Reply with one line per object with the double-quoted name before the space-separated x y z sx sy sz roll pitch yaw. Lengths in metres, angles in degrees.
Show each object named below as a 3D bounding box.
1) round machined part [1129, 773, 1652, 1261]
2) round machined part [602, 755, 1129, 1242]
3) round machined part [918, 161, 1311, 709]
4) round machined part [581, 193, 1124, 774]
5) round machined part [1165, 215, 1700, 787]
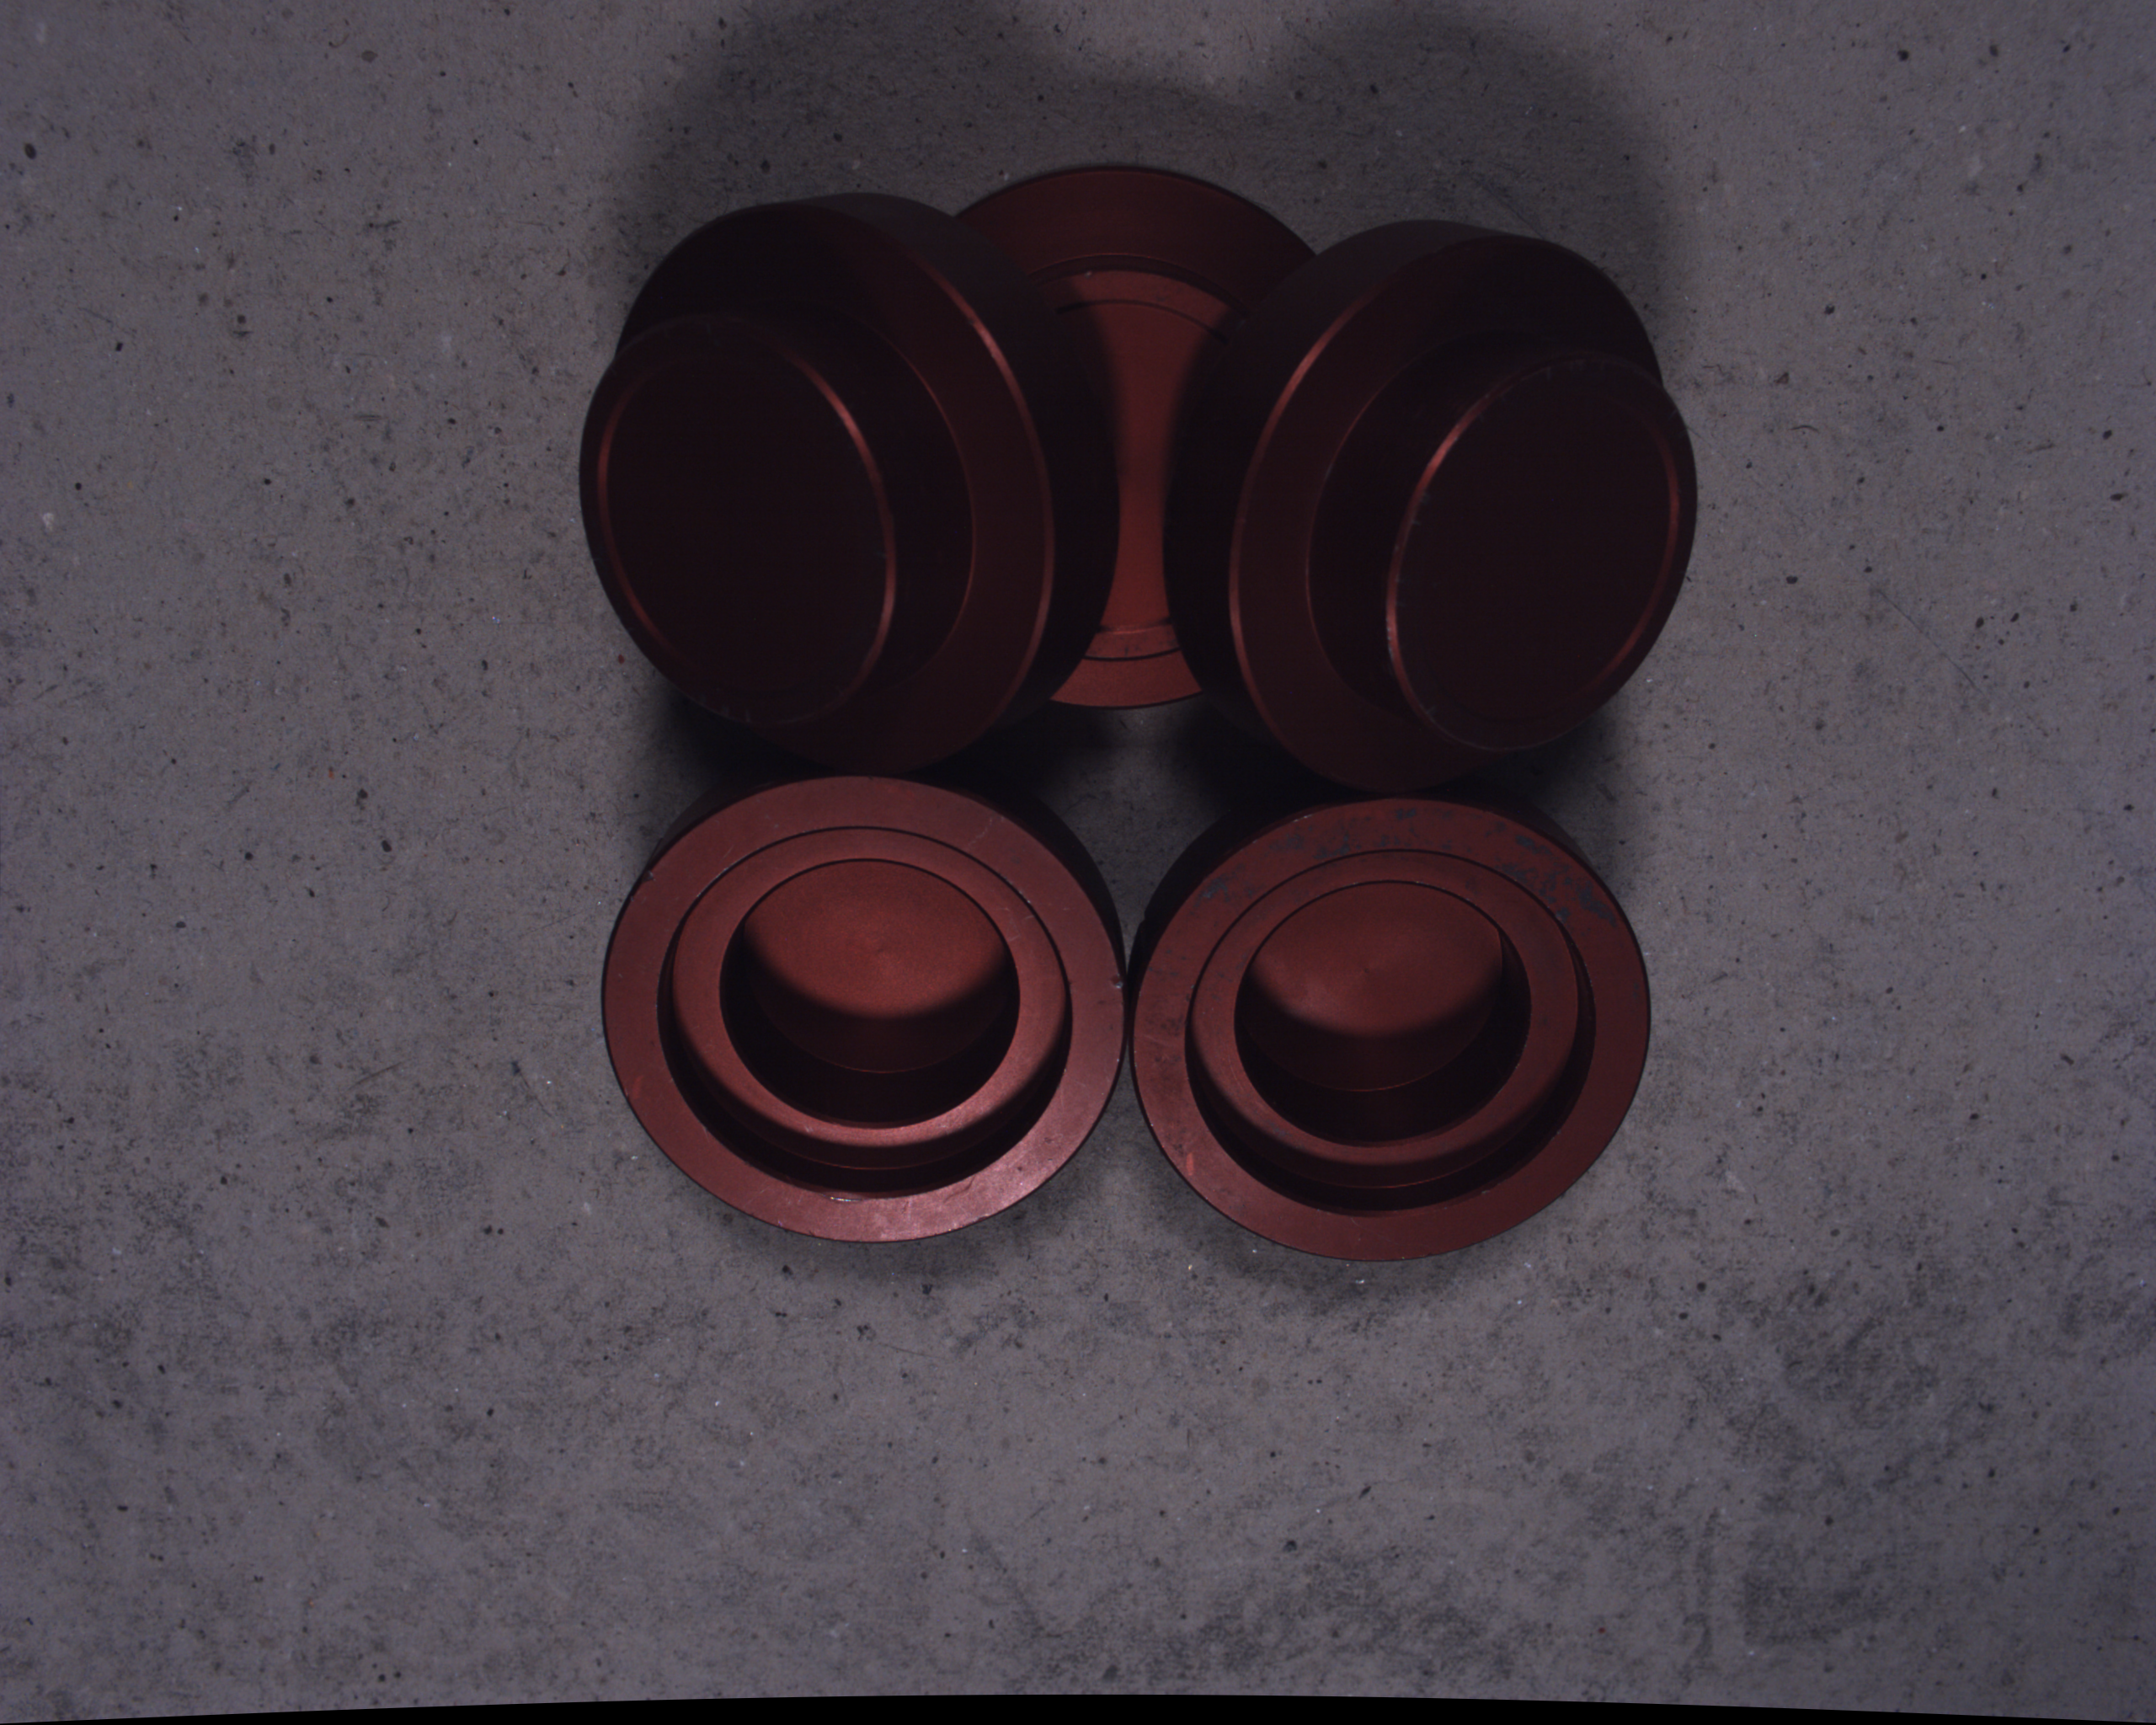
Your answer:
"round machined part" 0.059 0.026 0.412 0.099 0.042 0.097 0 110 -1
"round machined part" -0.040 0.022 0.409 0.099 0.042 0.097 0 110 -1
"round machined part" 0.006 -0.074 0.374 0.099 0.042 0.097 0 110 -1
"round machined part" -0.045 -0.061 0.353 0.098 0.042 0.097 14 118 30
"round machined part" 0.067 -0.058 0.358 0.099 0.042 0.097 -15 120 -28
